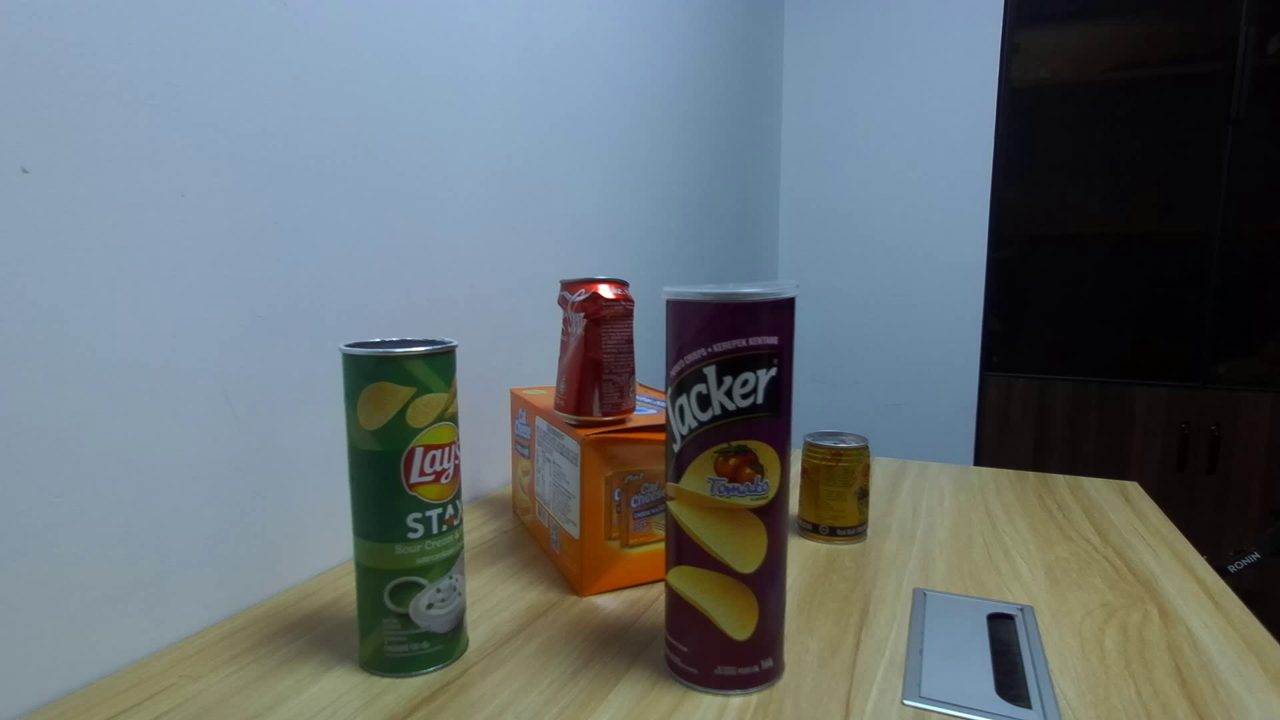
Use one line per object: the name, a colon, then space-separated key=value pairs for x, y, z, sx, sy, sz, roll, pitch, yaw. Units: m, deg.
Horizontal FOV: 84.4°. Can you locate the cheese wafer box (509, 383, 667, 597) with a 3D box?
cheese wafer box: x=-0.021 y=0.098 z=0.652 sx=0.150 sy=0.137 sz=0.226 roll=-3 pitch=8 yaw=-24

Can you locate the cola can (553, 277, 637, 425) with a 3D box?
cola can: x=-0.035 y=-0.007 z=0.551 sx=0.065 sy=0.112 sz=0.069 roll=-1 pitch=6 yaw=-4

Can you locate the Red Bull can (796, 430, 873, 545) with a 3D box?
Red Bull can: x=0.182 y=0.118 z=0.662 sx=0.069 sy=0.092 sz=0.069 roll=0 pitch=8 yaw=0

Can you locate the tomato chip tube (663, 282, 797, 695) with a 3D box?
tomato chip tube: x=0.054 y=0.076 z=0.430 sx=0.078 sy=0.233 sz=0.078 roll=0 pitch=7 yaw=0

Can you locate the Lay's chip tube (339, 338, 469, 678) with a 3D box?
Lay's chip tube: x=-0.147 y=0.089 z=0.448 sx=0.071 sy=0.202 sz=0.071 roll=0 pitch=7 yaw=0
